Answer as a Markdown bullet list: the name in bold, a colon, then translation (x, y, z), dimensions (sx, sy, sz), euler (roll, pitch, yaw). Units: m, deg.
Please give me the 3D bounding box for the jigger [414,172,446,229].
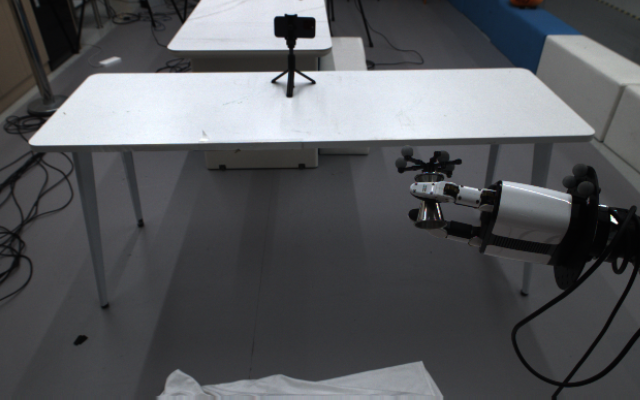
- **jigger**: translation (0.147, -0.001, 0.652), dimensions (0.043, 0.043, 0.071), euler (3, 72, 1)
